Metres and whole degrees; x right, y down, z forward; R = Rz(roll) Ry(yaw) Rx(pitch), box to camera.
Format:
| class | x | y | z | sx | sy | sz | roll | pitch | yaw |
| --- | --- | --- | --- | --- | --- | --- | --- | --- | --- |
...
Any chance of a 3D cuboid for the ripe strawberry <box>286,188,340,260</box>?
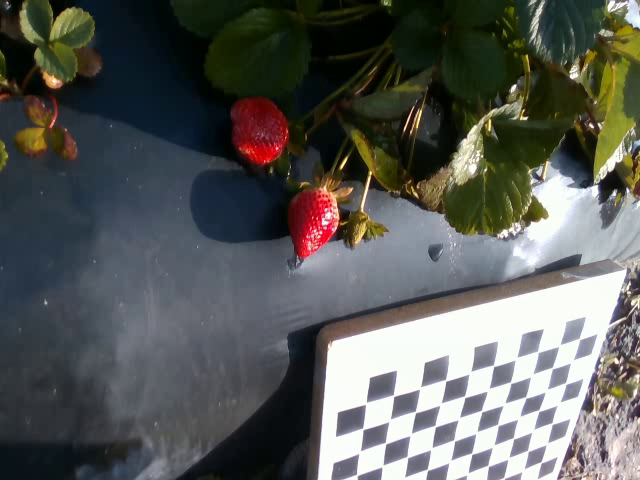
| class | x | y | z | sx | sy | sz | roll | pitch | yaw |
| --- | --- | --- | --- | --- | --- | --- | --- | --- | --- |
| ripe strawberry | -0.004 | -0.010 | 0.453 | 0.039 | 0.053 | 0.043 | -13 | -40 | 37 |

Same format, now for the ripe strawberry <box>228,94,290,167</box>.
| class | x | y | z | sx | sy | sz | roll | pitch | yaw |
| --- | --- | --- | --- | --- | --- | --- | --- | --- | --- |
| ripe strawberry | -0.041 | -0.070 | 0.445 | 0.039 | 0.048 | 0.054 | 28 | 18 | 30 |
